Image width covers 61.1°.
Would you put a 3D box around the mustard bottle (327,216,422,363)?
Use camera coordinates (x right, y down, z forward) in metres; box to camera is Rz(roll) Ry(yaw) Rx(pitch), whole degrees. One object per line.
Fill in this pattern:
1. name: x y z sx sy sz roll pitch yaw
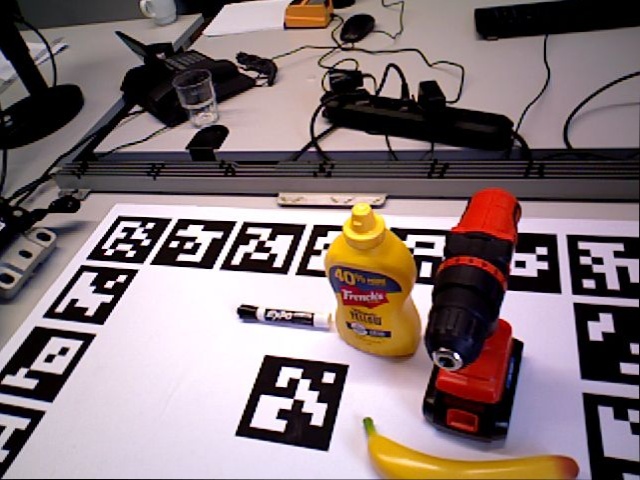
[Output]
1. mustard bottle: 0.057 0.051 0.572 0.096 0.195 0.057 13 48 22

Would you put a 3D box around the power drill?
1. power drill: 0.141 0.089 0.487 0.057 0.191 0.180 15 48 24

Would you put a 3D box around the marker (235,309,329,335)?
1. marker: -0.049 0.101 0.675 0.121 0.020 0.019 4 47 18

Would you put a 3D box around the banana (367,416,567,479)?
1. banana: 0.126 0.219 0.500 0.198 0.039 0.072 8 49 23
